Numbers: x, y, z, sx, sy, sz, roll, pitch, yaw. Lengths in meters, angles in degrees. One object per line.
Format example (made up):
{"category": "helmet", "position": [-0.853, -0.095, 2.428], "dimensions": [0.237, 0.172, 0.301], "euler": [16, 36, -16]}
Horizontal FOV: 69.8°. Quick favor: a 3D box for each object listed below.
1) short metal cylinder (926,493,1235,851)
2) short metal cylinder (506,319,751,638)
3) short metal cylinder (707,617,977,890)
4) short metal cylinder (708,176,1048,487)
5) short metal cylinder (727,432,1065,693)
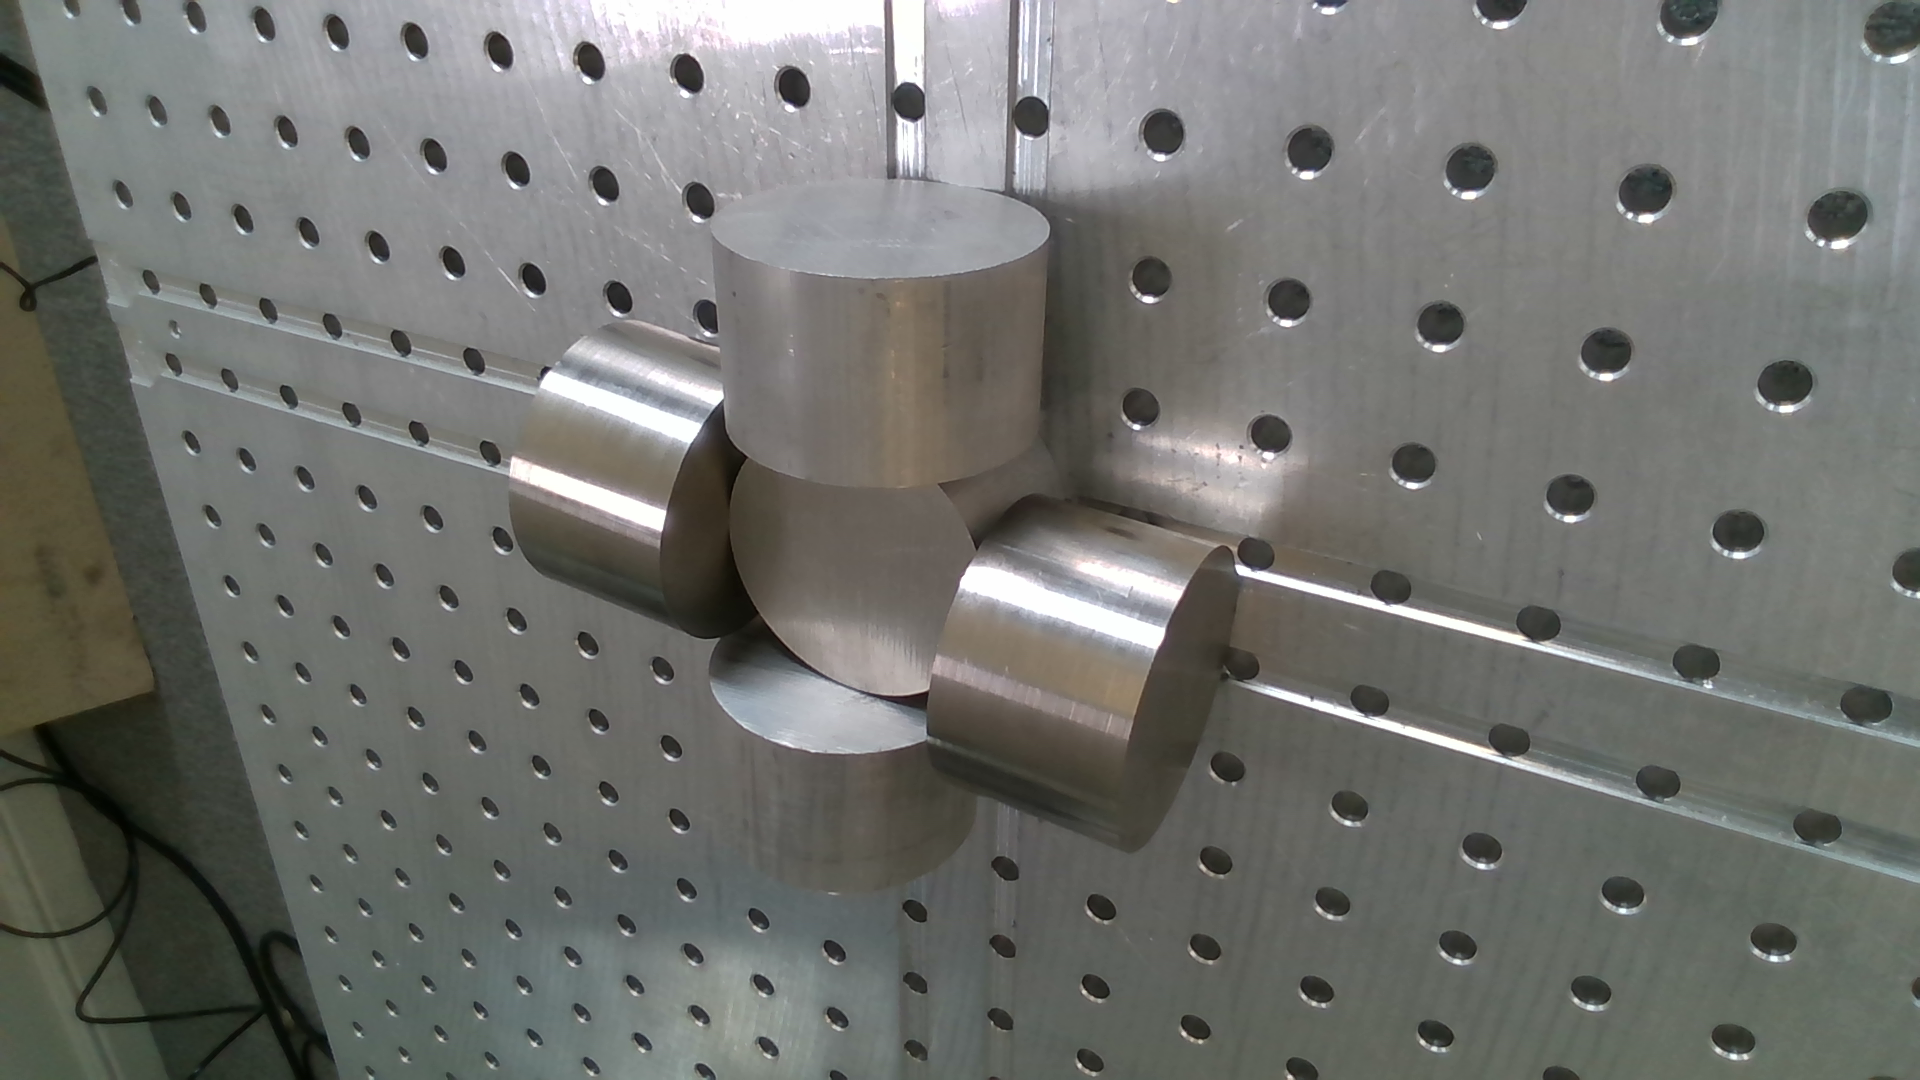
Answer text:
{"category": "short metal cylinder", "position": [0.033, 0.033, 0.354], "dimensions": [0.050, 0.080, 0.080], "euler": [17, 123, 23]}
{"category": "short metal cylinder", "position": [-0.082, -0.018, 0.395], "dimensions": [0.050, 0.080, 0.080], "euler": [20, 124, 21]}
{"category": "short metal cylinder", "position": [-0.033, 0.057, 0.408], "dimensions": [0.080, 0.080, 0.050], "euler": [18, 123, 23]}
{"category": "short metal cylinder", "position": [-0.019, -0.054, 0.339], "dimensions": [0.080, 0.080, 0.050], "euler": [16, 123, 24]}
{"category": "short metal cylinder", "position": [-0.017, -0.005, 0.384], "dimensions": [0.080, 0.050, 0.080], "euler": [15, 123, 24]}
